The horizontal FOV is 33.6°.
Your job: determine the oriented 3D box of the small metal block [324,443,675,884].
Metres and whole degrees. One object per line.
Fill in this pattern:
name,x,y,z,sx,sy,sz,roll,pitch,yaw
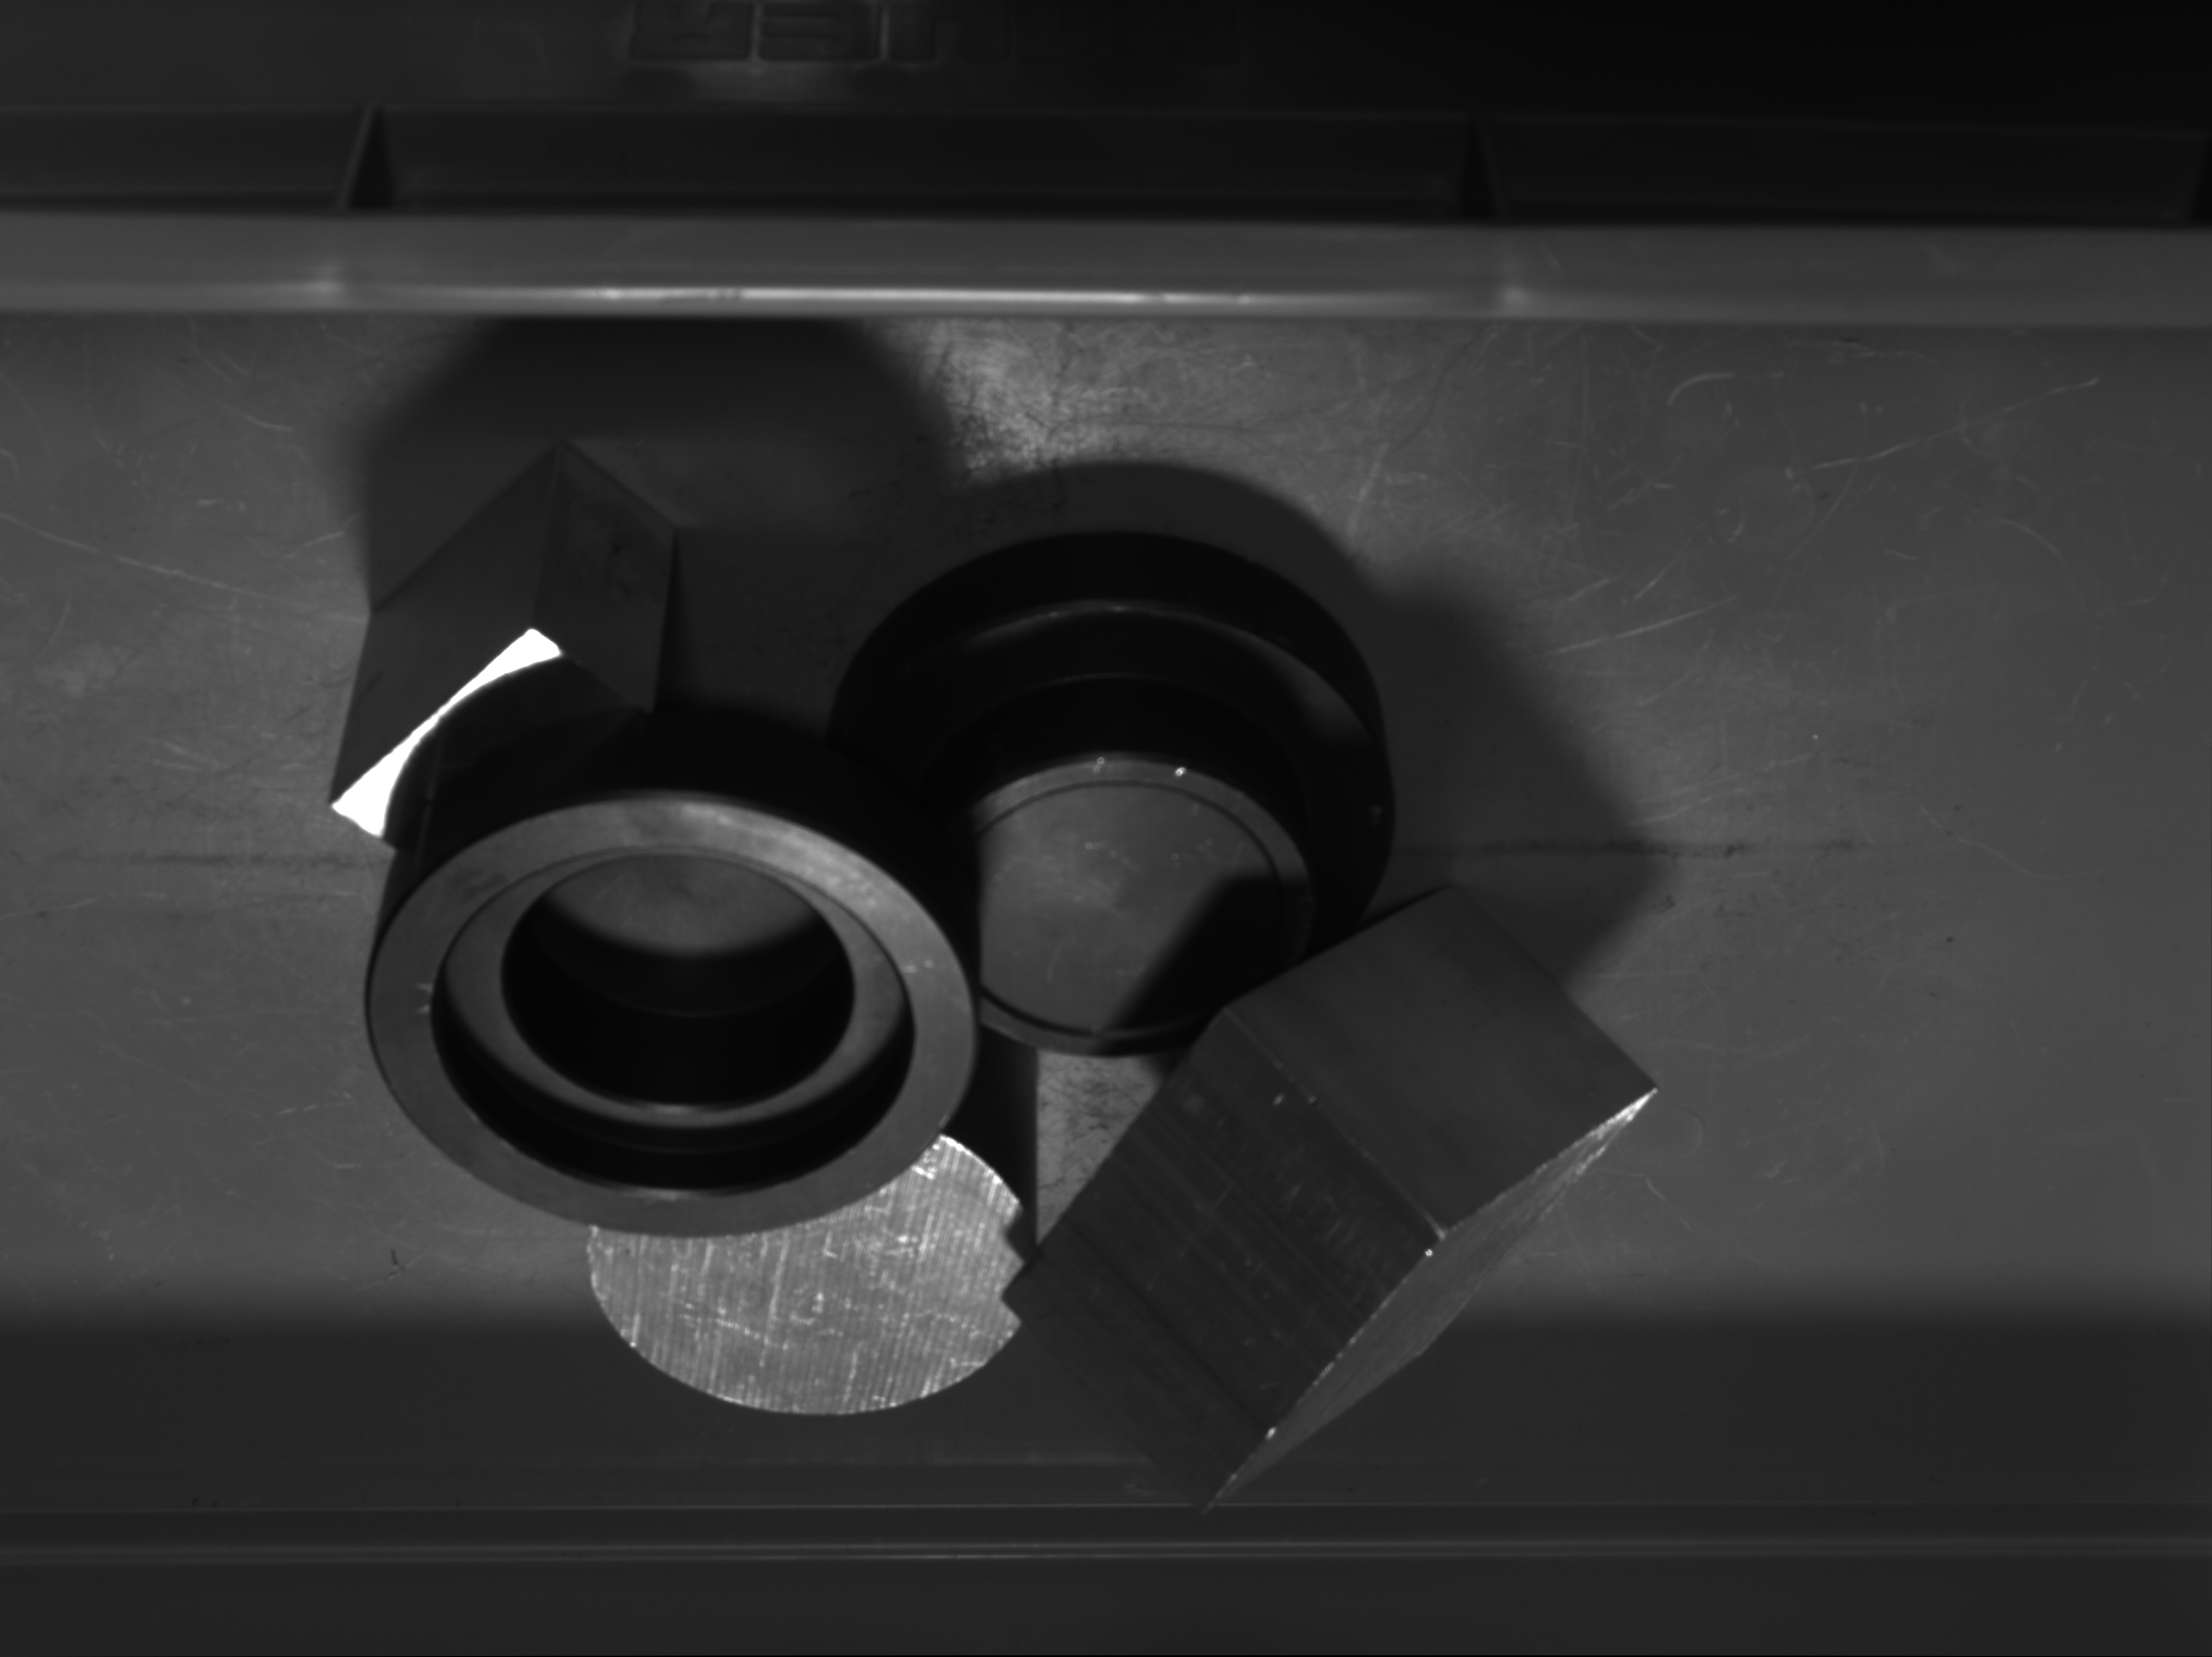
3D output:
small metal block,-0.098,-0.026,0.594,0.050,0.050,0.025,-38,121,27

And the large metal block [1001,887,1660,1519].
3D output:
large metal block,0.040,0.065,0.648,0.050,0.080,0.080,46,124,15

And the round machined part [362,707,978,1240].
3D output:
round machined part,-0.070,0.019,0.601,0.098,0.042,0.098,-1,130,-1

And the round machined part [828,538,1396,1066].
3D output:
round machined part,0.001,0.002,0.625,0.098,0.042,0.098,-1,130,-1

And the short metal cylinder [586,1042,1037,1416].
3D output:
short metal cylinder,-0.053,0.062,0.671,0.080,0.050,0.080,-1,130,-1
